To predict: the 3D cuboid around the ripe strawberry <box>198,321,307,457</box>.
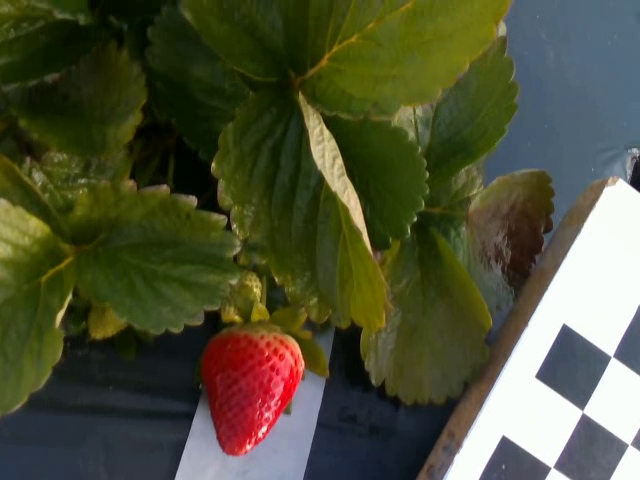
[{"bbox_3d":[-0.022,0.052,0.218,0.050,0.055,0.035,30,-28,-14],"label":"ripe strawberry"}]
